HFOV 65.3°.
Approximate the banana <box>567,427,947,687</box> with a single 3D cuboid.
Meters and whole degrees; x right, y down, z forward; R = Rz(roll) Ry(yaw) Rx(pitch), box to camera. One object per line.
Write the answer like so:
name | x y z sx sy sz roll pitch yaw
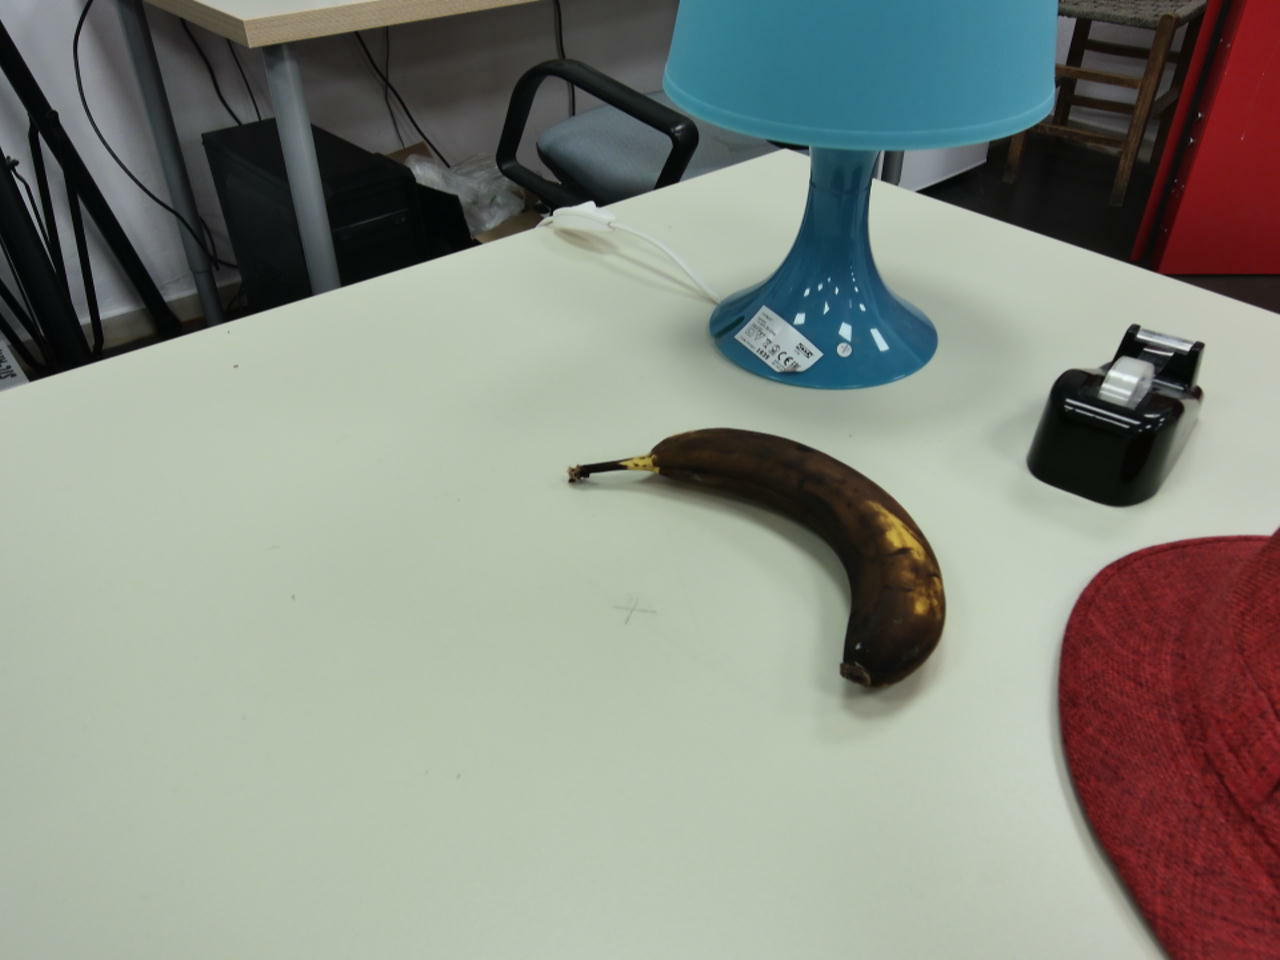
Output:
banana | 0.059 0.014 0.426 0.091 0.034 0.188 -24 41 -29
